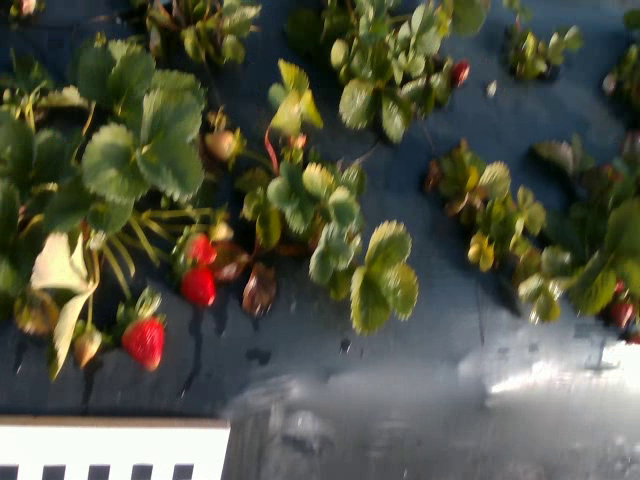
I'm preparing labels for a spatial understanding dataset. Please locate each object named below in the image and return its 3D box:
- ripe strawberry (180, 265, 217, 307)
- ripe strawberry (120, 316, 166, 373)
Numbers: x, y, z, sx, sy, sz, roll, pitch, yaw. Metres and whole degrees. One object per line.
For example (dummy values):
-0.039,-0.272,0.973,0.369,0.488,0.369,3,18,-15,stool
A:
-0.136,0.055,0.969,0.055,0.045,0.042,42,4,17,ripe strawberry
-0.184,0.110,0.923,0.050,0.065,0.050,-29,-22,-9,ripe strawberry
